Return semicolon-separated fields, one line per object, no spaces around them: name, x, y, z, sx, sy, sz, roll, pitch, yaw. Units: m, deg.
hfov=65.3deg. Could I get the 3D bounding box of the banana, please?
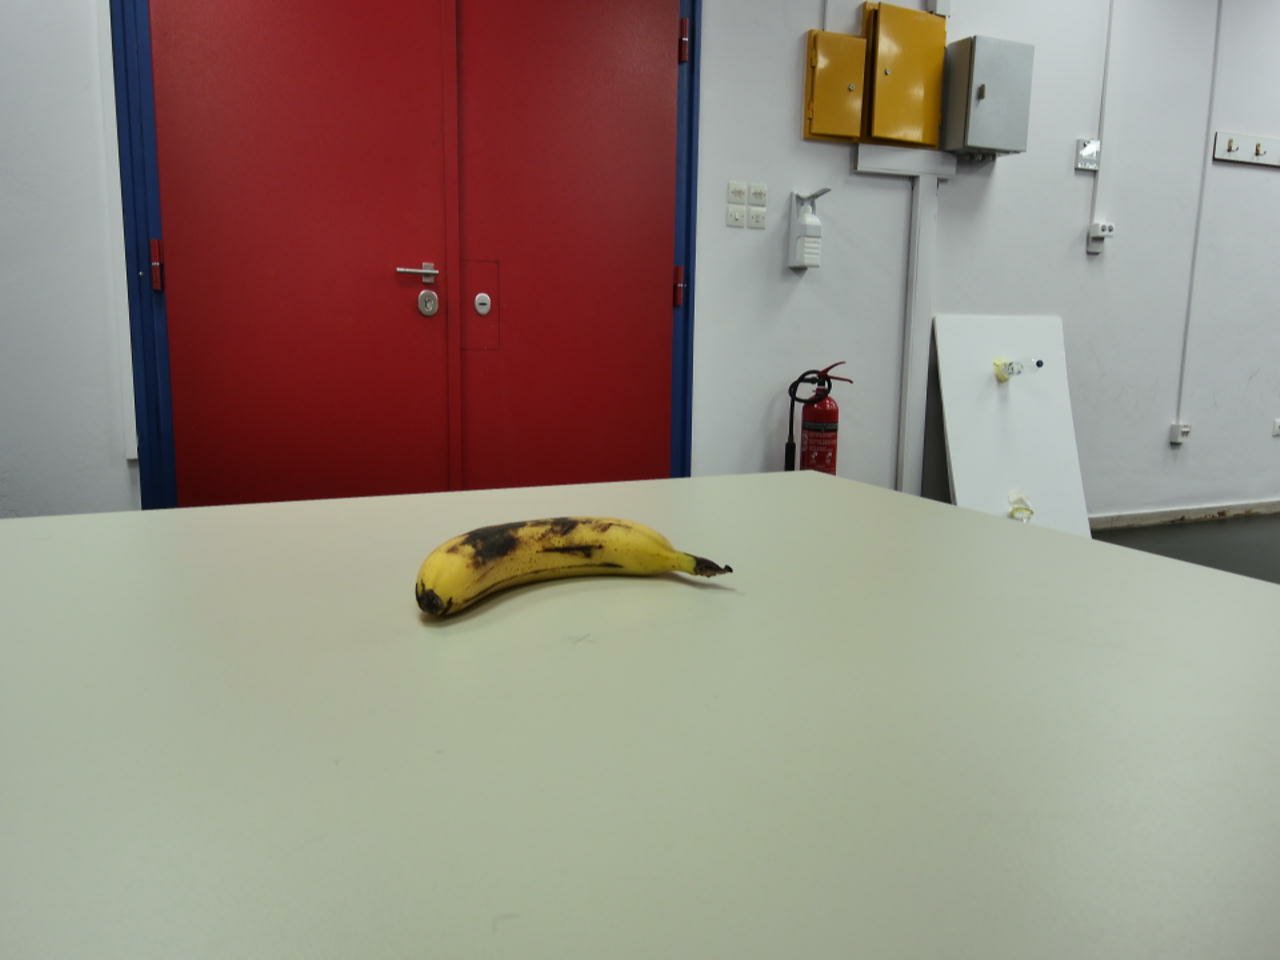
banana;-0.051;0.047;0.597;0.187;0.039;0.094;-4;8;-27
